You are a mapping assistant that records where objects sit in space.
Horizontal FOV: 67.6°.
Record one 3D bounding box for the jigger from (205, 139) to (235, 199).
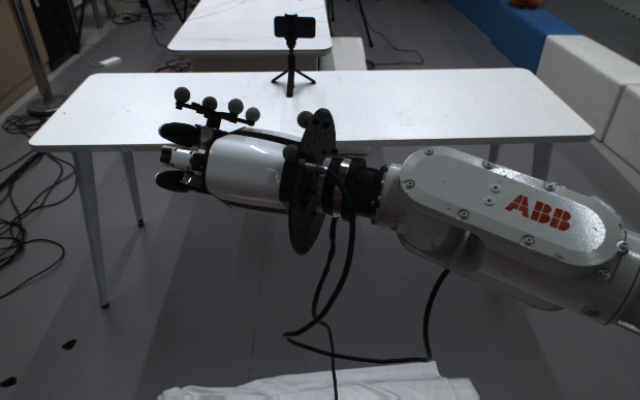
[{"bbox_3d":[-0.127,-0.048,0.555,0.043,0.071,0.043,14,1,0],"label":"jigger"}]
